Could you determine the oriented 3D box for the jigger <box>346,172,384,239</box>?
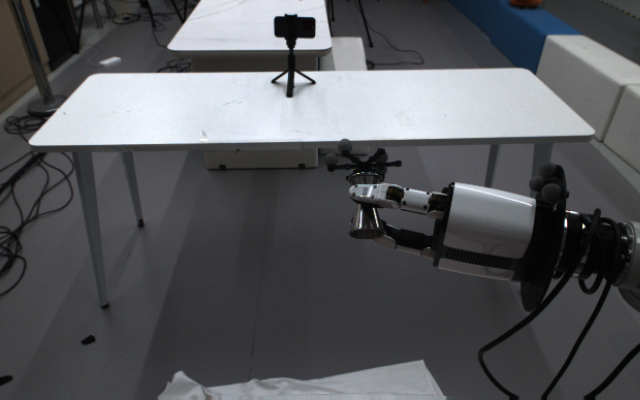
[{"bbox_3d":[0.054,0.005,0.559,0.043,0.043,0.071,0,70,-2],"label":"jigger"}]
